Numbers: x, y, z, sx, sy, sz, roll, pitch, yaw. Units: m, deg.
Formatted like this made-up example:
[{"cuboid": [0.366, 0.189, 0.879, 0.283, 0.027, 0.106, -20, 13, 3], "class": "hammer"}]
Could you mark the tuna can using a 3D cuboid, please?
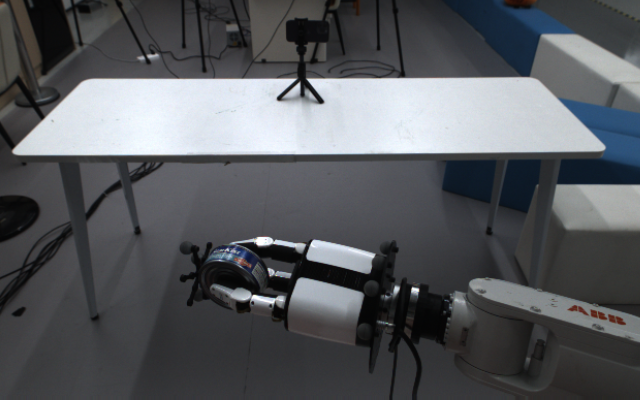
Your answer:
[{"cuboid": [-0.108, 0.098, 0.619, 0.085, 0.085, 0.034, 9, 33, 10], "class": "tuna can"}]
